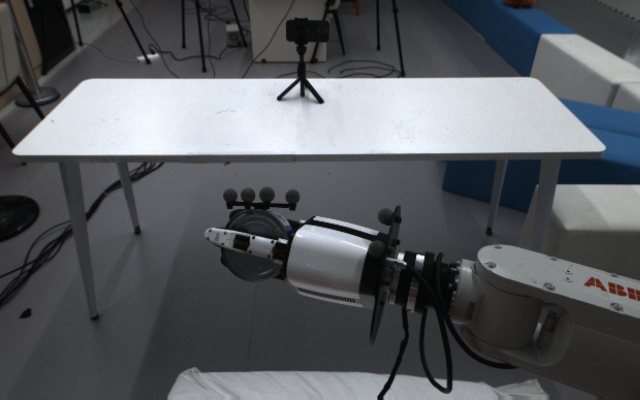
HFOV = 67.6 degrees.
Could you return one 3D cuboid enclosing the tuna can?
[{"bbox_3d":[-0.071,0.054,0.581,0.085,0.085,0.034,12,-1,14],"label":"tuna can"}]
